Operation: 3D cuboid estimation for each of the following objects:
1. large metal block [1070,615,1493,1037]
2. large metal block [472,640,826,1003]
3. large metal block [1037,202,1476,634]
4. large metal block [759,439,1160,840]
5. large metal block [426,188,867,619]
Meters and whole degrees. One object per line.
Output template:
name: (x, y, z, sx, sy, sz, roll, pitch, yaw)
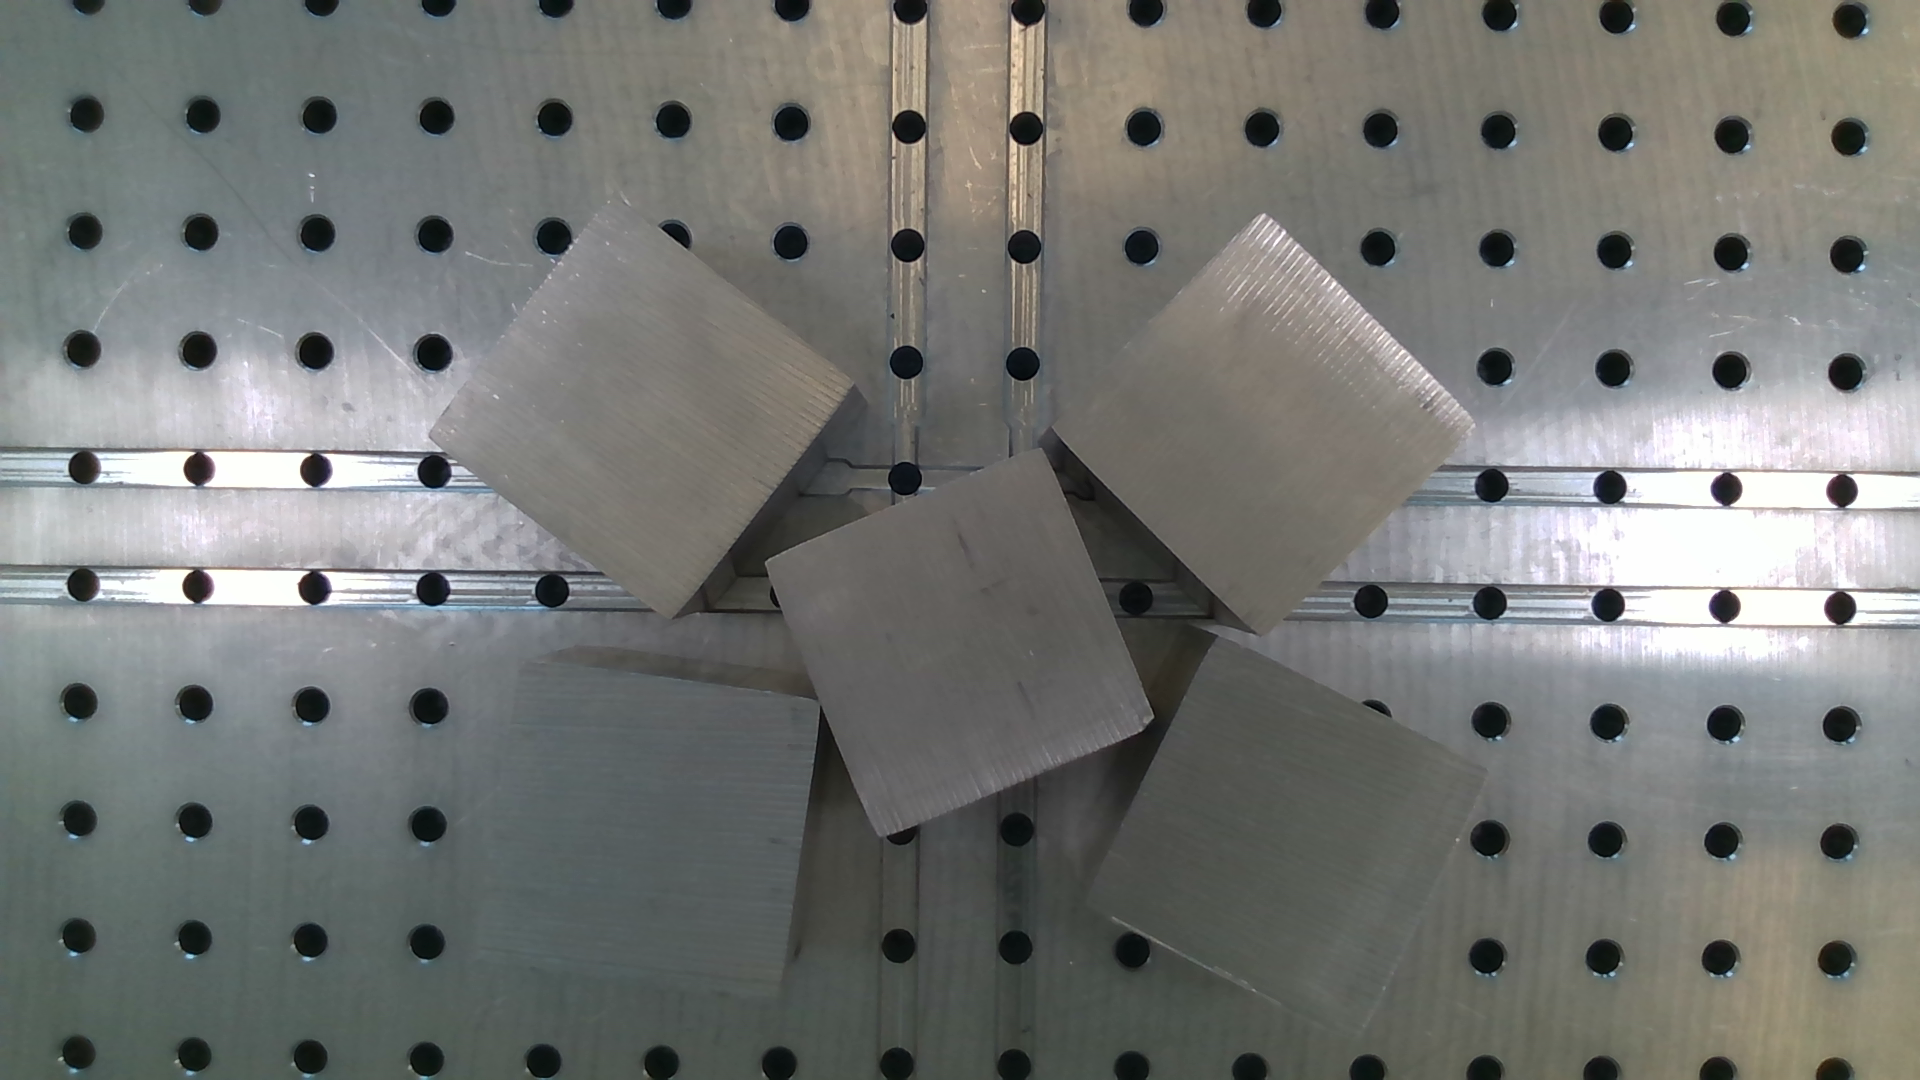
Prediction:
large metal block: (0.086, 0.076, 0.384, 0.080, 0.050, 0.080, 26, 93, 0)
large metal block: (-0.082, 0.075, 0.385, 0.080, 0.050, 0.080, 9, 91, 0)
large metal block: (0.078, -0.032, 0.385, 0.080, 0.050, 0.080, -44, 90, -1)
large metal block: (0.000, 0.026, 0.384, 0.080, 0.050, 0.080, -23, 90, 0)
large metal block: (-0.083, -0.035, 0.383, 0.080, 0.050, 0.080, 38, 90, 0)
